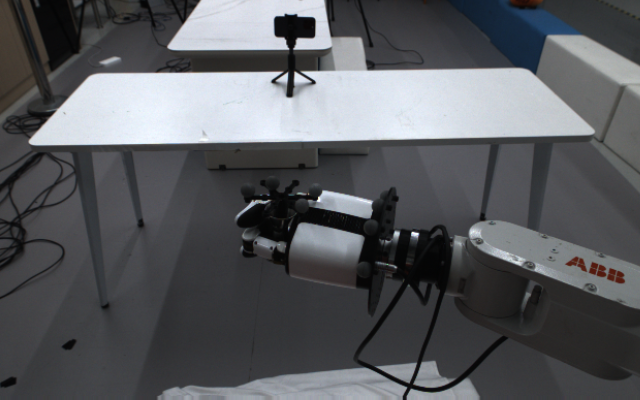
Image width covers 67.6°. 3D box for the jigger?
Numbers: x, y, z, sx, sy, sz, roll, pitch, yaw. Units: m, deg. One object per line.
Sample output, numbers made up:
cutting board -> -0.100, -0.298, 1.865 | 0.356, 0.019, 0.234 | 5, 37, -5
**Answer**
jigger -> -0.046, 0.039, 0.615 | 0.043, 0.071, 0.043 | 4, 31, -2
